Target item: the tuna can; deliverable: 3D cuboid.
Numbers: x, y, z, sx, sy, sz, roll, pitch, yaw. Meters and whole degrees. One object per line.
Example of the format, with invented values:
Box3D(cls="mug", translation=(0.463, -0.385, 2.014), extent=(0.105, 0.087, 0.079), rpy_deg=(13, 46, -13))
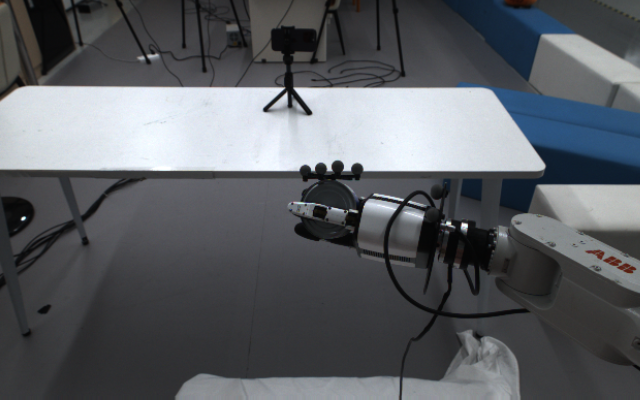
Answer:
Box3D(cls="tuna can", translation=(0.016, 0.014, 0.710), extent=(0.085, 0.085, 0.034), rpy_deg=(15, 1, 18))
